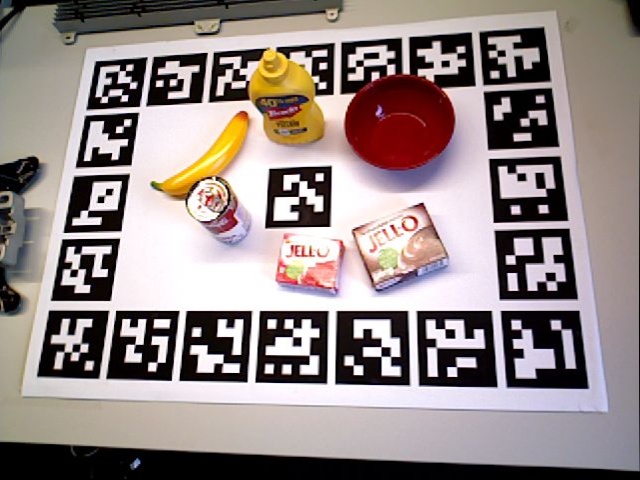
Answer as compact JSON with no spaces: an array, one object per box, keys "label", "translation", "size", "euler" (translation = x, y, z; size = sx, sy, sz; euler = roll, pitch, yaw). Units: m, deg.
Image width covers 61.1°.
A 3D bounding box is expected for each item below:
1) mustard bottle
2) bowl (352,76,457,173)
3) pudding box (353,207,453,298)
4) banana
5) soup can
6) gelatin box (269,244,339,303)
[{"label":"mustard bottle","translation":[-0.048,-0.206,0.765],"size":[0.096,0.193,0.058],"euler":[1,67,8]},{"label":"bowl","translation":[0.129,-0.161,0.808],"size":[0.162,0.055,0.160],"euler":[-4,70,9]},{"label":"pudding box","translation":[0.113,0.019,0.756],"size":[0.113,0.039,0.090],"euler":[-23,75,1]},{"label":"banana","translation":[-0.184,-0.136,0.858],"size":[0.196,0.039,0.074],"euler":[-45,60,-7]},{"label":"soup can","translation":[-0.154,-0.045,0.779],"size":[0.068,0.103,0.067],"euler":[-2,68,5]},{"label":"gelatin box","translation":[-0.022,0.047,0.774],"size":[0.089,0.030,0.073],"euler":[7,76,12]}]
